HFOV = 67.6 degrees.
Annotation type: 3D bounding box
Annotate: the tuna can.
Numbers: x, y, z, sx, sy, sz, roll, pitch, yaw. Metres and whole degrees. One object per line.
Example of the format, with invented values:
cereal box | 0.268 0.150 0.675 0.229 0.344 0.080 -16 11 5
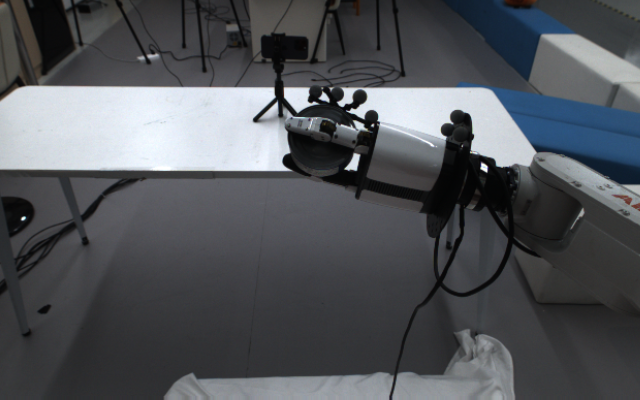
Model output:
tuna can | 0.004 -0.075 0.605 0.085 0.034 0.085 0 72 0
